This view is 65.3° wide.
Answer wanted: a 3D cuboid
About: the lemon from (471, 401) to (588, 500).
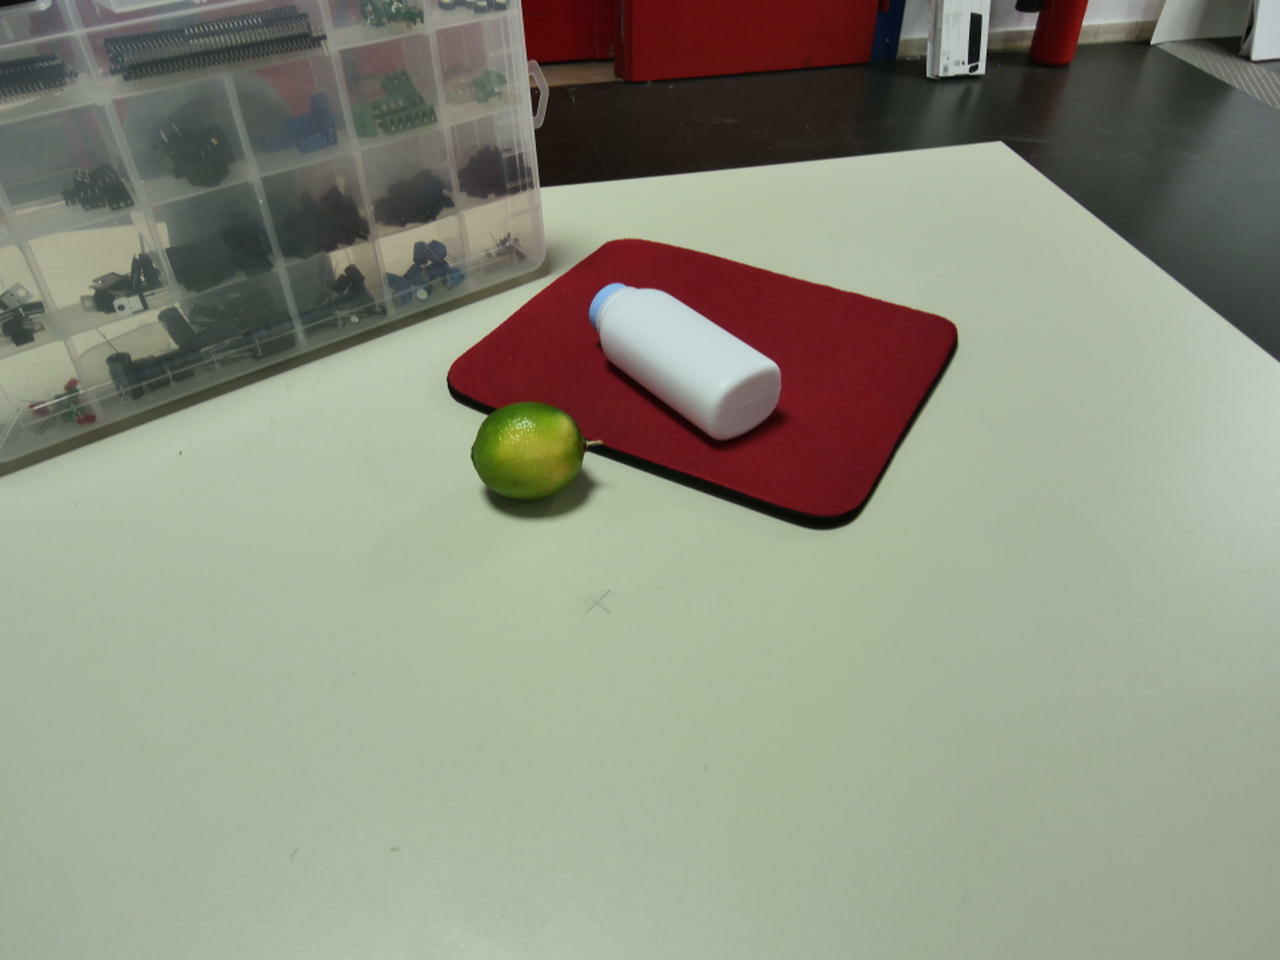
[{"bbox_3d":[-0.058,-0.015,0.522,0.055,0.050,0.054,27,45,28],"label":"lemon"}]
